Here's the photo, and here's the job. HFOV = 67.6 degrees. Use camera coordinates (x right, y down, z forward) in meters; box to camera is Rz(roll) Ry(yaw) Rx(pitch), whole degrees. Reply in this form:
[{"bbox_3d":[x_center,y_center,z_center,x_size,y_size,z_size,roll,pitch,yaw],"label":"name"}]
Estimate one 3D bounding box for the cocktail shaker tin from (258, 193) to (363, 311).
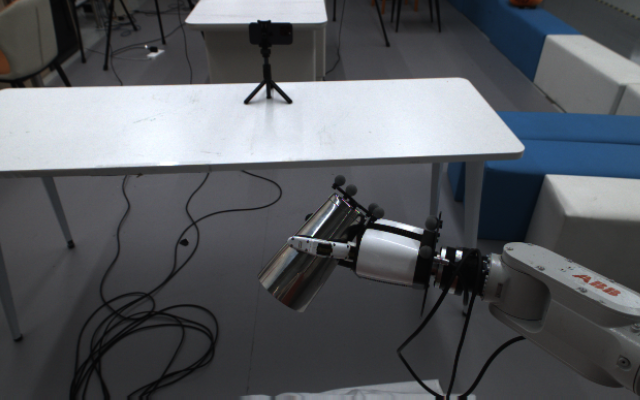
[{"bbox_3d":[-0.006,0.072,0.737,0.170,0.093,0.093,-50,46,4],"label":"cocktail shaker tin"}]
